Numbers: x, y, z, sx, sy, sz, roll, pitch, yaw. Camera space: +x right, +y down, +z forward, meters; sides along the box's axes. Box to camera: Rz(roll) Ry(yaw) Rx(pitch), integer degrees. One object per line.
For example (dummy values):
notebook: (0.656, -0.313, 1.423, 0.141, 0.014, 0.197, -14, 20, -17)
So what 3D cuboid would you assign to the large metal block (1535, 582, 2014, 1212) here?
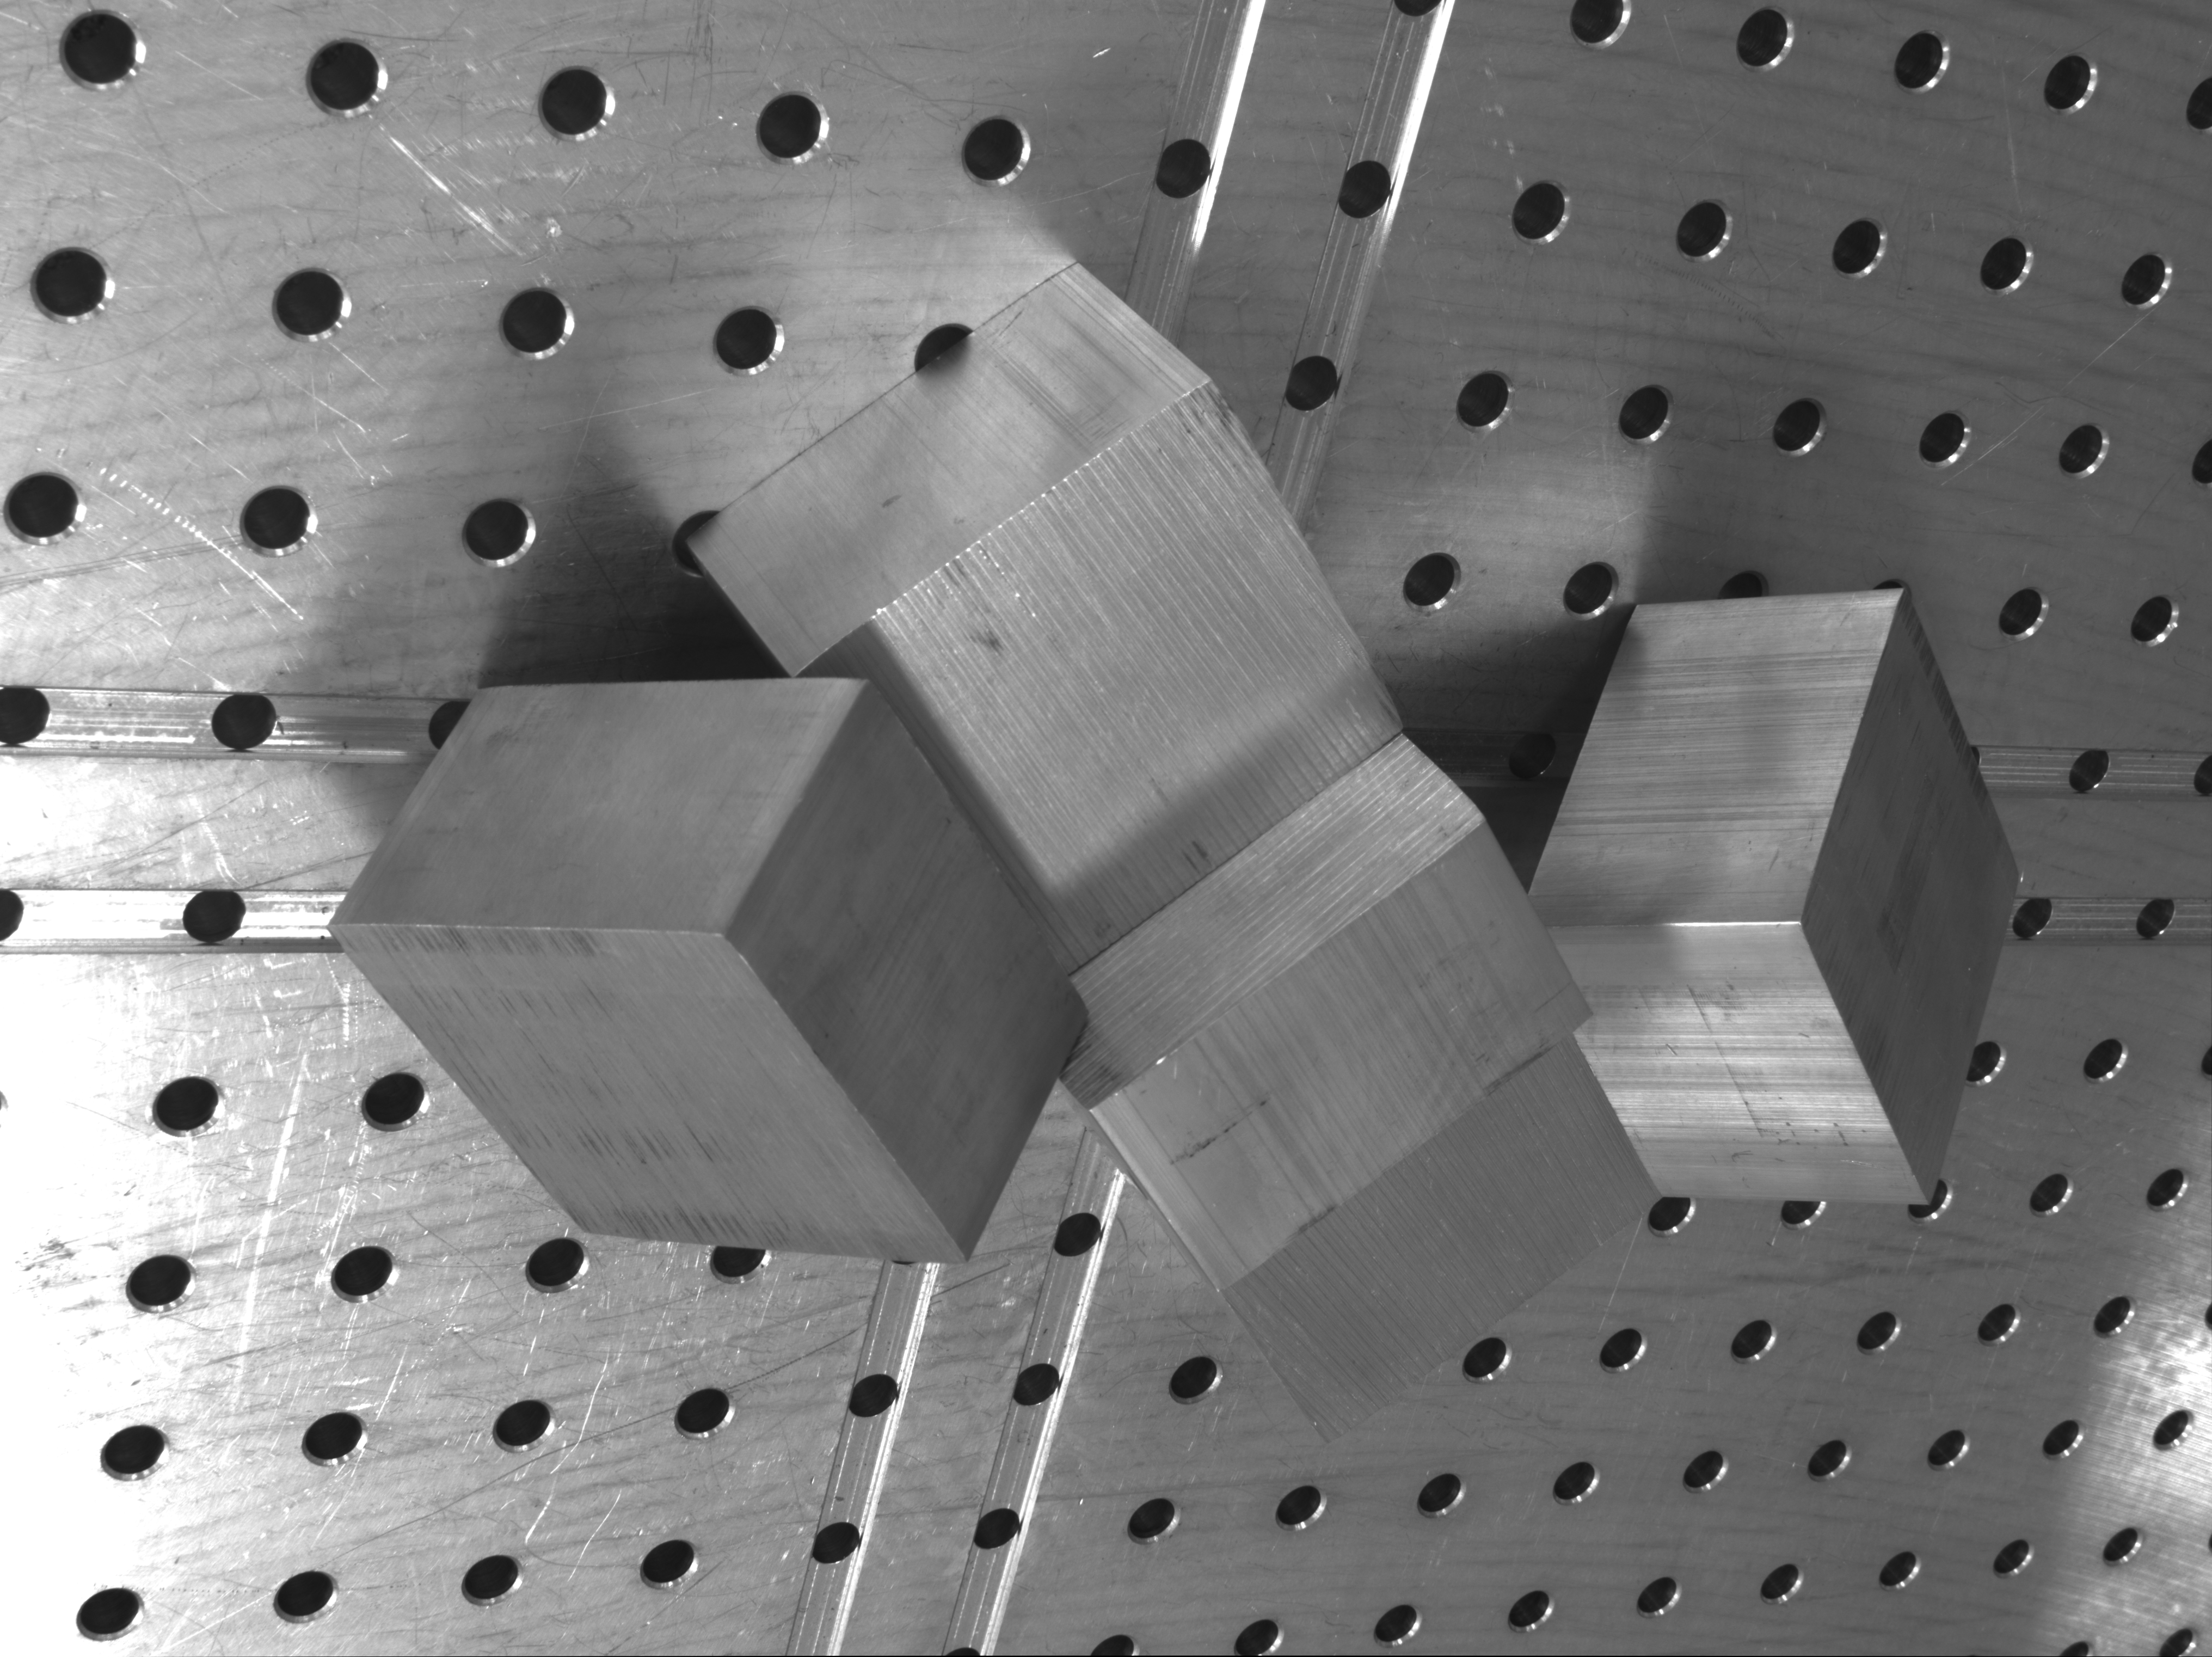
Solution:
large metal block: (0.123, 0.013, 0.671, 0.080, 0.050, 0.080, 58, 44, -39)

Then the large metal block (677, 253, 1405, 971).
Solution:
large metal block: (-0.010, -0.032, 0.600, 0.080, 0.050, 0.080, -35, 129, -3)

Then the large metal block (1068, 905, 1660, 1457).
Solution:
large metal block: (0.045, 0.055, 0.682, 0.080, 0.050, 0.080, -36, 127, -5)

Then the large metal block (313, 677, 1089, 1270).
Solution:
large metal block: (-0.062, 0.023, 0.577, 0.080, 0.080, 0.050, 58, 45, -39)

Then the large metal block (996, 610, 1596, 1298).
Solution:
large metal block: (0.023, 0.019, 0.629, 0.080, 0.080, 0.050, -37, 130, -4)
